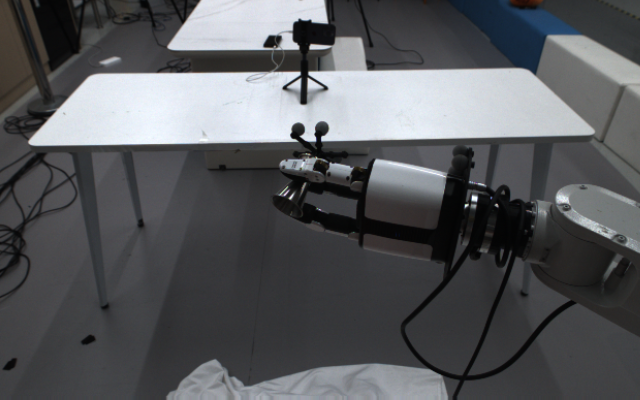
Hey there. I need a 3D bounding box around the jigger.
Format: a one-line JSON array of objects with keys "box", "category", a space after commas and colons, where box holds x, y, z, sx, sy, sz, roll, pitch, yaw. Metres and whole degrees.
[{"box": [-0.025, -0.022, 0.585, 0.043, 0.043, 0.071, 19, 61, 23], "category": "jigger"}]
